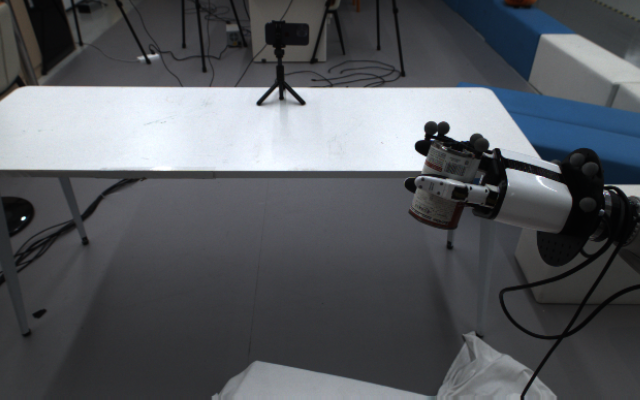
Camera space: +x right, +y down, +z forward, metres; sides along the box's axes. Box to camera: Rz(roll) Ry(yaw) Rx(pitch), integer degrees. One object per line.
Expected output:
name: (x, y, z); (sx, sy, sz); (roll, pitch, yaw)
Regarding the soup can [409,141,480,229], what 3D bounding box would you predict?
soup can: (0.165, -0.021, 0.639); (0.067, 0.101, 0.067); (13, 18, -4)
